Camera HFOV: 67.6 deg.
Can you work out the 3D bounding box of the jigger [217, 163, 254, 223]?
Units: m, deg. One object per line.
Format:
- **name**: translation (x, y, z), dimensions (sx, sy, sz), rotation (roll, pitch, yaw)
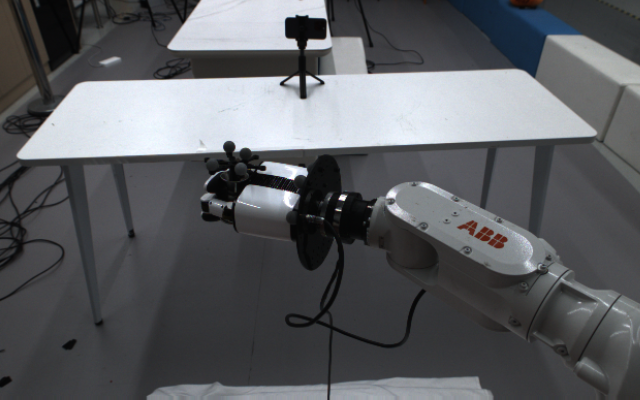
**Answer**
- **jigger**: translation (-0.122, -0.005, 0.699), dimensions (0.043, 0.071, 0.043), rotation (5, 26, -3)
